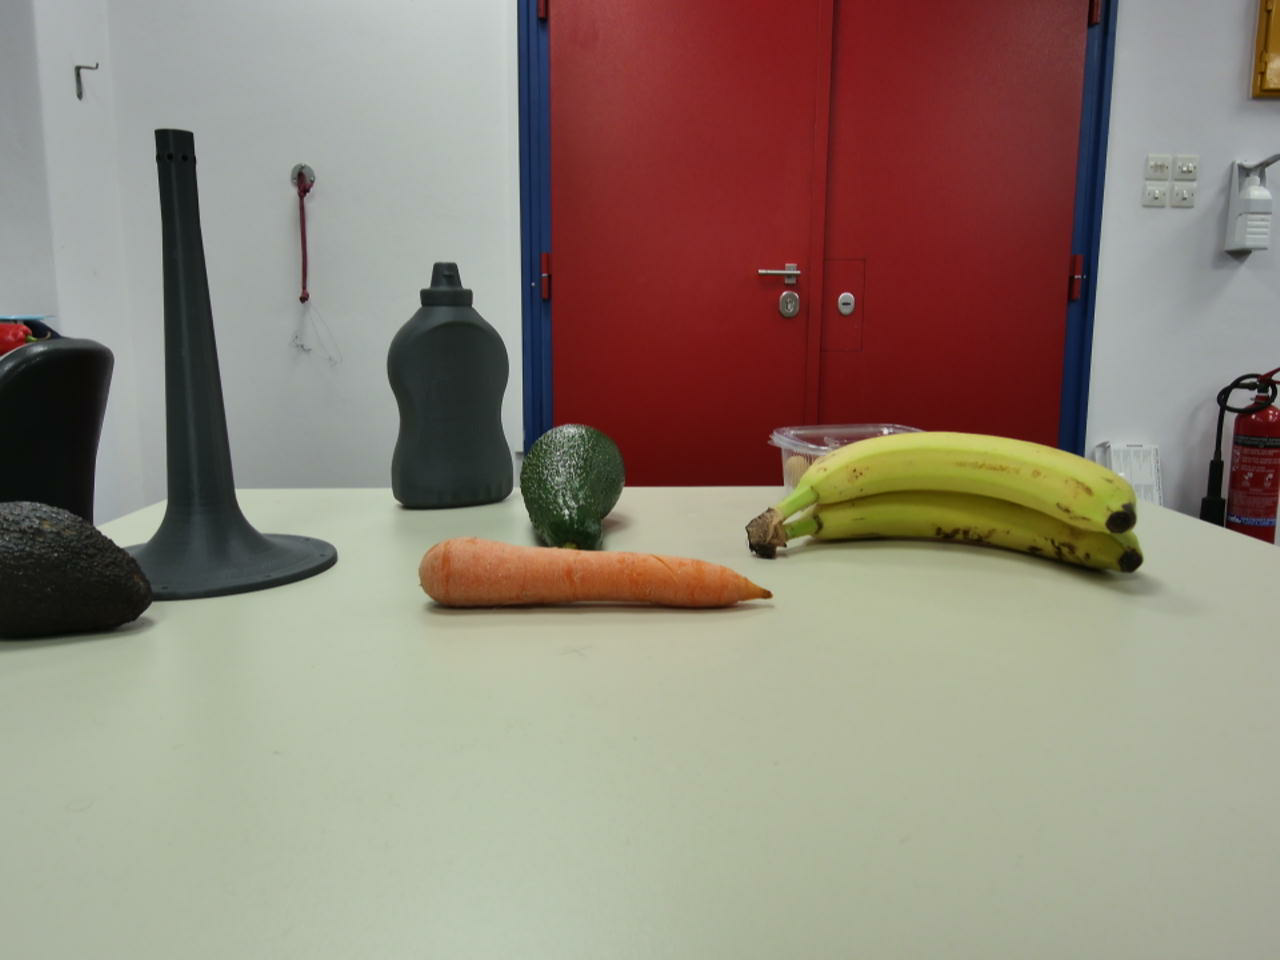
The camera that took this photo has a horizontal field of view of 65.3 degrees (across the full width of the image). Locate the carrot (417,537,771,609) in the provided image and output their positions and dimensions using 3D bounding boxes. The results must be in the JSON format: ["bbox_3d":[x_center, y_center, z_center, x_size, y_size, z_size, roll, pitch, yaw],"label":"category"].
[{"bbox_3d":[-0.025,0.052,0.558,0.196,0.041,0.039,-1,7,-1],"label":"carrot"}]
